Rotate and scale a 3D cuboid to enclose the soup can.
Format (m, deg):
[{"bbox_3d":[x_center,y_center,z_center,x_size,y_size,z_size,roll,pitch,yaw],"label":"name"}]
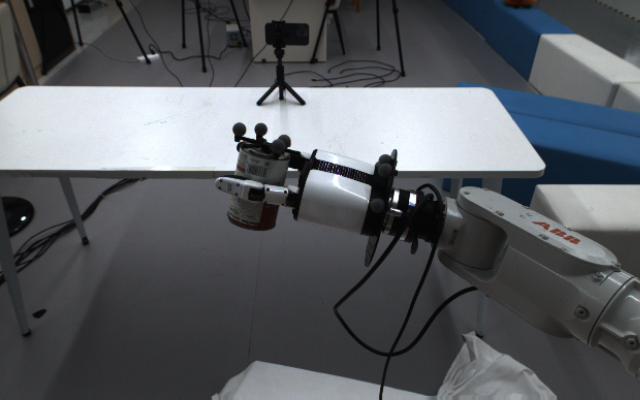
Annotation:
[{"bbox_3d":[-0.080,-0.018,0.639,0.067,0.101,0.067,13,18,-4],"label":"soup can"}]
